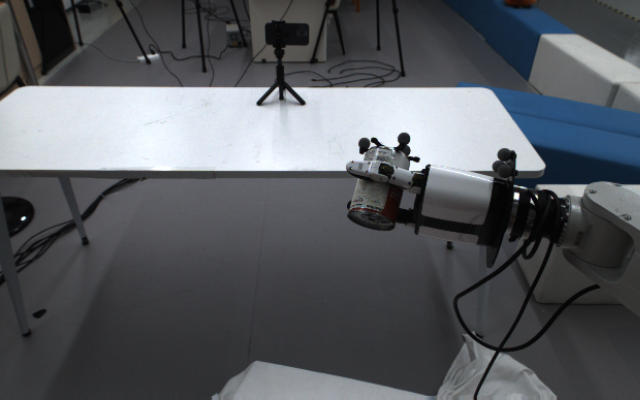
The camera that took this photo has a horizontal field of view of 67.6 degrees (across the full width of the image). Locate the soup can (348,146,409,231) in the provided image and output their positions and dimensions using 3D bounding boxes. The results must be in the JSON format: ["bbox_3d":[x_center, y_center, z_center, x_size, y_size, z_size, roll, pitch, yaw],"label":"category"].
[{"bbox_3d":[0.085,-0.017,0.680,0.067,0.067,0.101,12,70,14],"label":"soup can"}]
